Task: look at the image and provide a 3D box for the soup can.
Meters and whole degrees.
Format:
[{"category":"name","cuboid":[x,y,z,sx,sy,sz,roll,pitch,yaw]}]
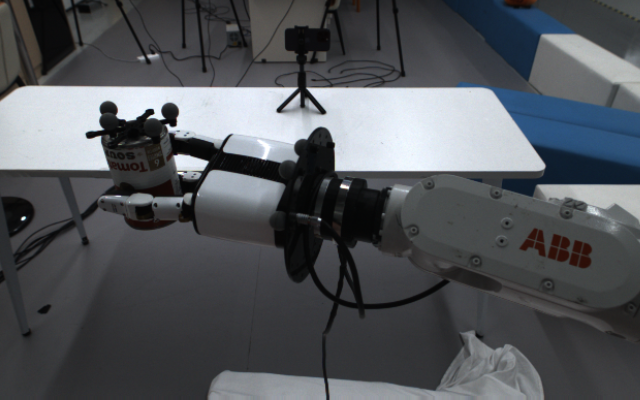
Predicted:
[{"category":"soup can","cuboid":[-0.188,-0.027,0.526,0.067,0.101,0.067,-2,33,1]}]
